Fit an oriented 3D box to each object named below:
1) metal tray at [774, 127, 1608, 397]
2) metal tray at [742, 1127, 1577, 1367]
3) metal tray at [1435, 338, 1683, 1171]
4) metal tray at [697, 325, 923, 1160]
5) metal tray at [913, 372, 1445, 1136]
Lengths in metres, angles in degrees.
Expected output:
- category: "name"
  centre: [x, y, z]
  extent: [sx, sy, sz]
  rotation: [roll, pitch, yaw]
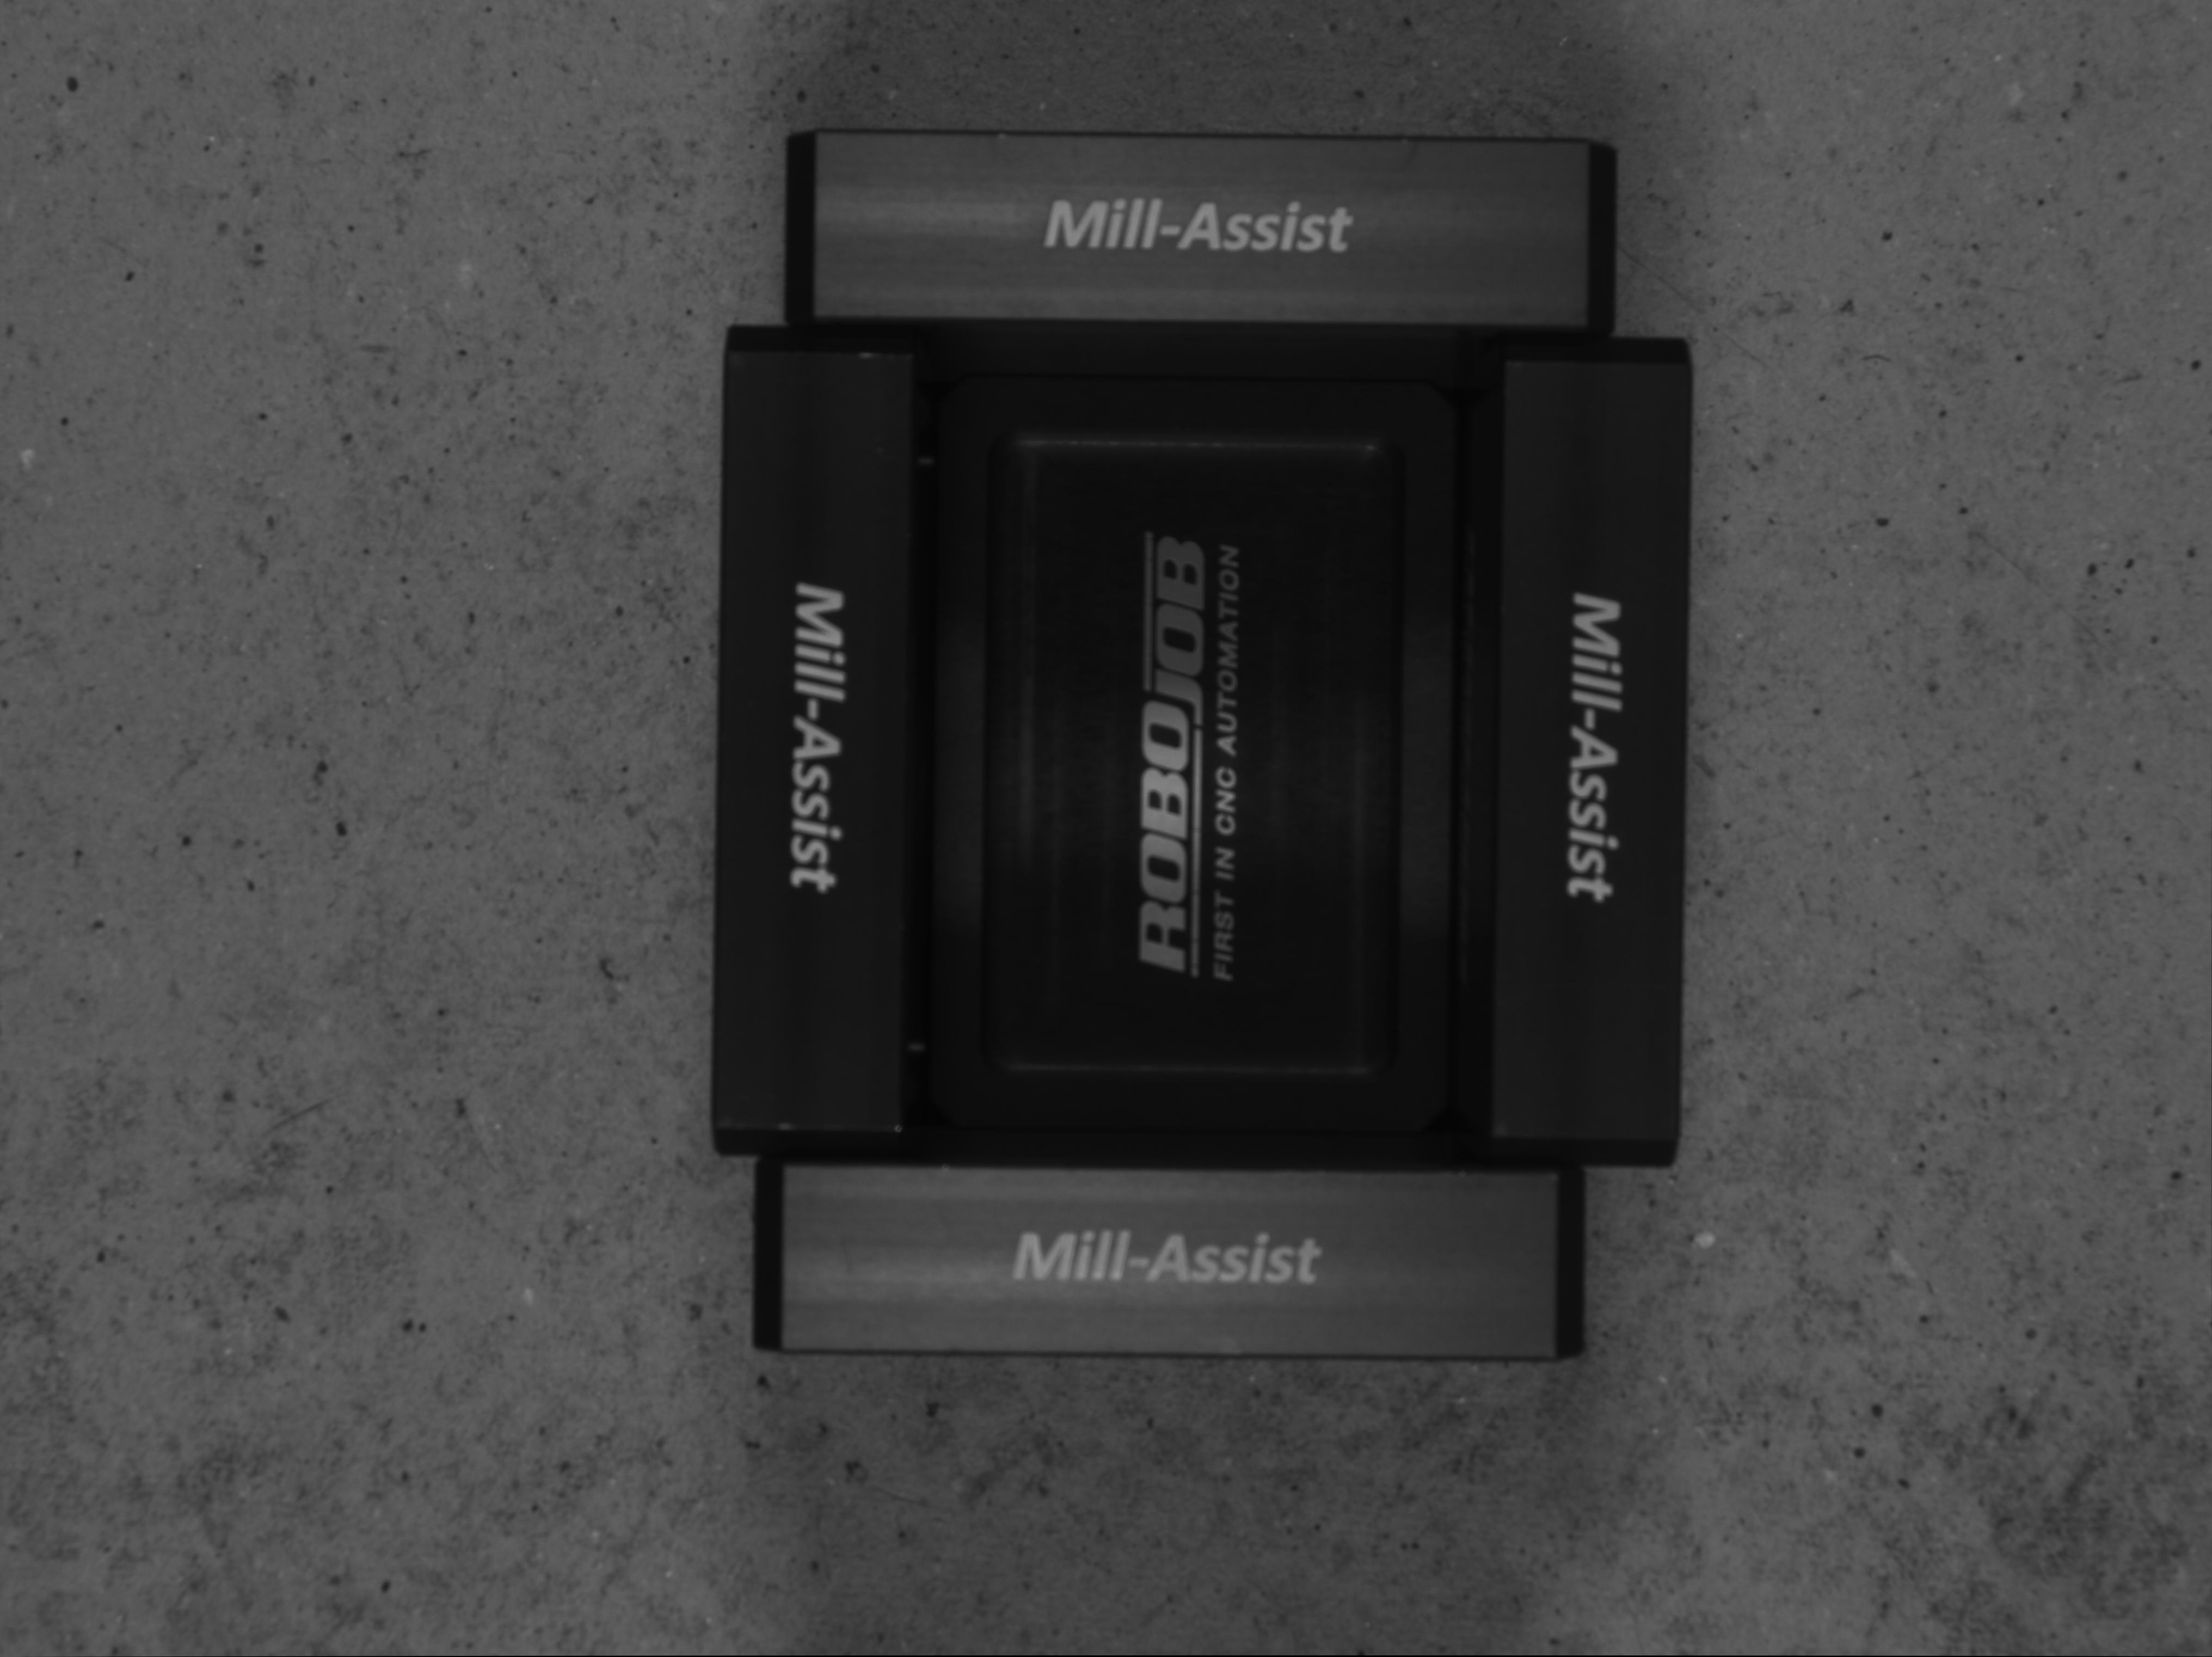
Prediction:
- category: "metal tray"
  centre: [0.013, -0.093, 0.612]
  extent: [0.130, 0.090, 0.030]
  rotation: [1, 90, 0]
- category: "metal tray"
  centre: [0.008, 0.068, 0.612]
  extent: [0.130, 0.090, 0.030]
  rotation: [1, 90, 0]
- category: "metal tray"
  centre: [0.074, -0.011, 0.613]
  extent: [0.030, 0.090, 0.130]
  rotation: [1, 90, 0]
- category: "metal tray"
  centre: [-0.048, -0.013, 0.612]
  extent: [0.030, 0.090, 0.130]
  rotation: [1, 90, 0]
- category: "metal tray"
  centre: [0.012, -0.013, 0.643]
  extent: [0.090, 0.030, 0.130]
  rotation: [1, 90, -1]
